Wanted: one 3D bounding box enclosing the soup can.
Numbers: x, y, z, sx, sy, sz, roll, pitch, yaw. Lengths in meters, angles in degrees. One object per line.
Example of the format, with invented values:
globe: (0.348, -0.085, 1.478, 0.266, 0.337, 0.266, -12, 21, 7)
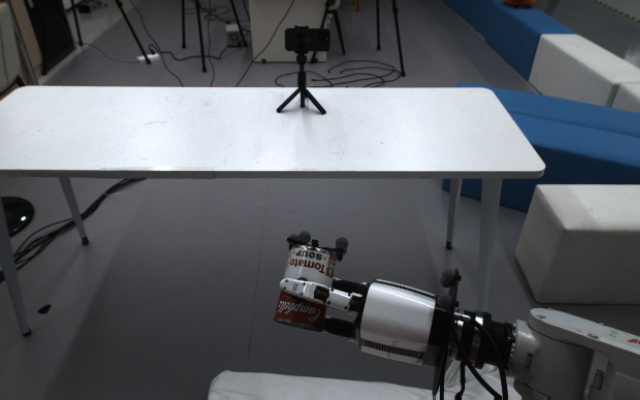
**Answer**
soup can: (-0.016, 0.118, 0.649, 0.067, 0.067, 0.101, 9, 72, 10)
